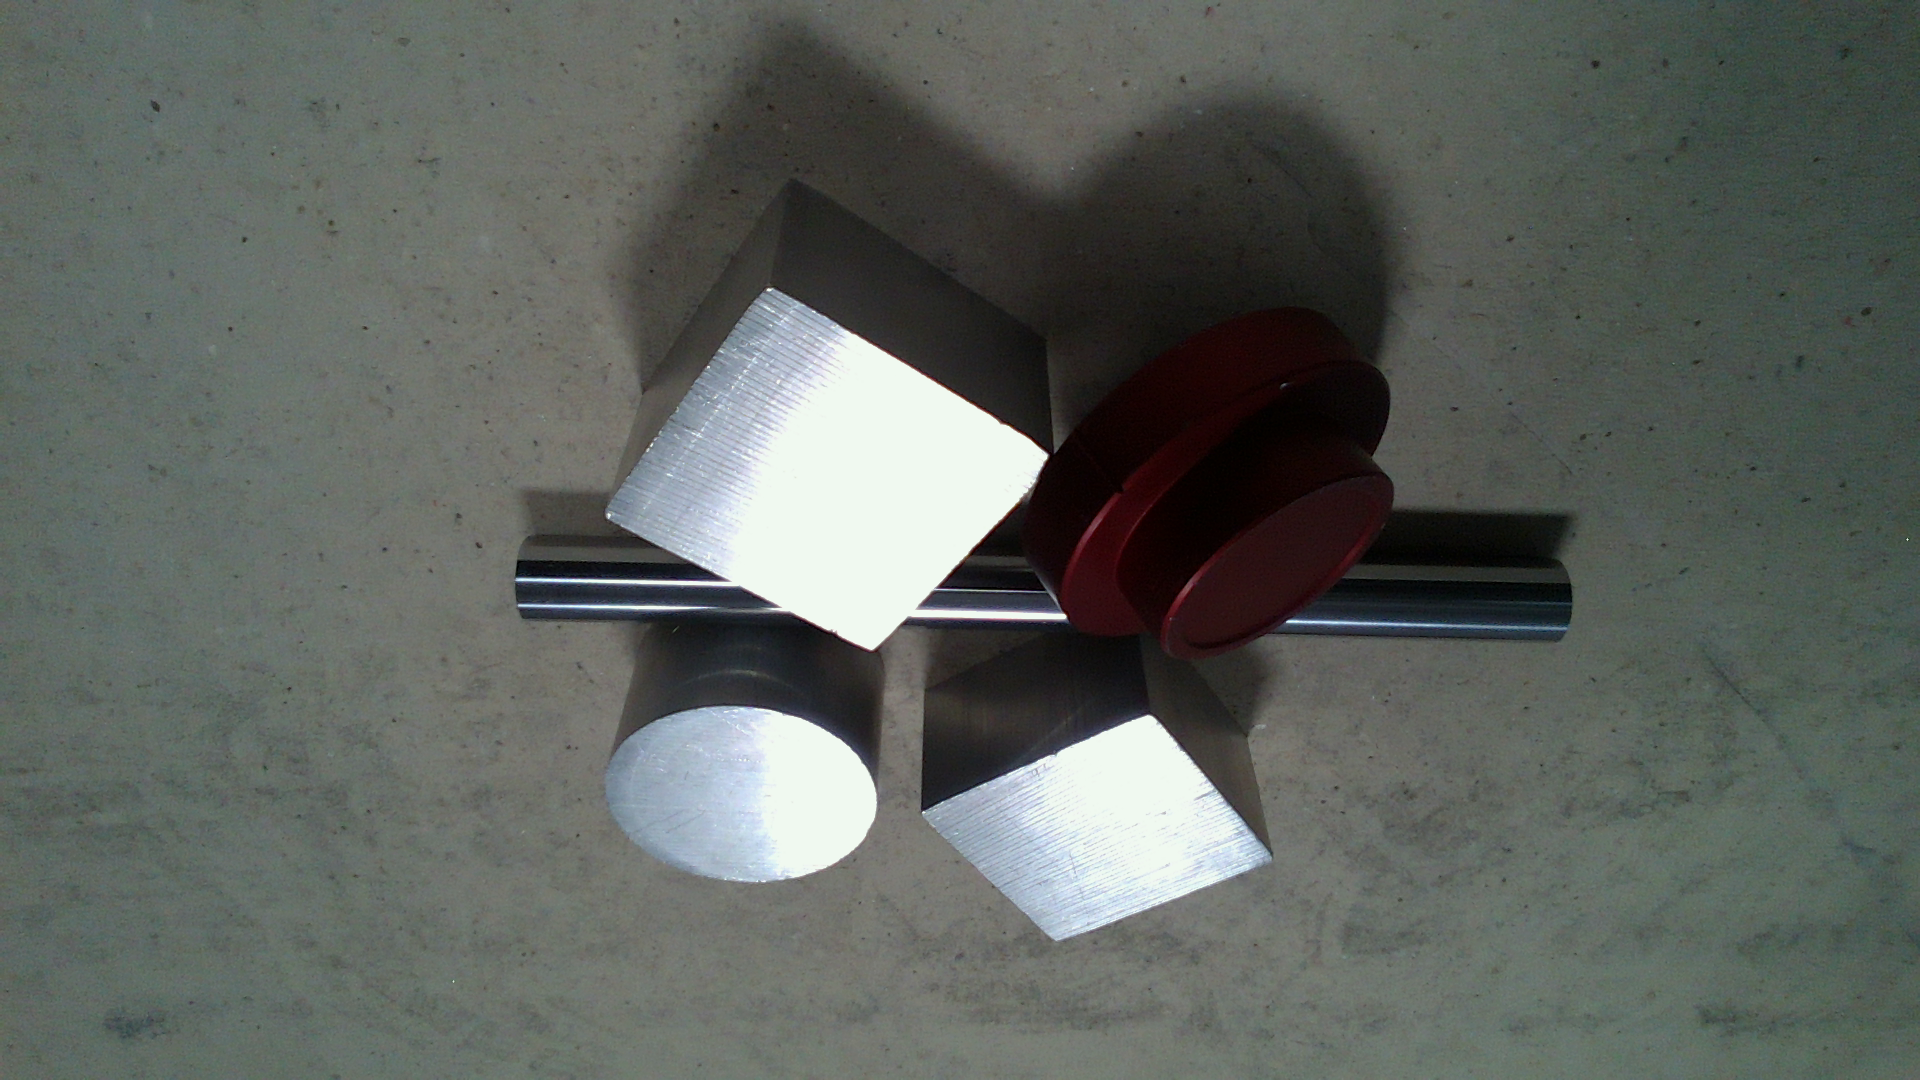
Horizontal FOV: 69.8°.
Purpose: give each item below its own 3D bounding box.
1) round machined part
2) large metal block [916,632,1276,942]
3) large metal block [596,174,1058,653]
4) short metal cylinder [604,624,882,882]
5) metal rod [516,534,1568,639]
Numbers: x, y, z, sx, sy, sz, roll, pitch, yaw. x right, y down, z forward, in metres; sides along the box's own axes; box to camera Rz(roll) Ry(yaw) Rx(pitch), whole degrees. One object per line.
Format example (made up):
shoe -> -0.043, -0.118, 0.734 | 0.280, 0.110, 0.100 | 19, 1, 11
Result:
round machined part -> 0.067, -0.007, 0.343 | 0.098, 0.042, 0.098 | -23, 149, -15
large metal block -> 0.042, 0.074, 0.437 | 0.080, 0.050, 0.080 | -27, 125, 21
large metal block -> -0.032, -0.029, 0.347 | 0.080, 0.050, 0.080 | 29, 124, -23
short metal cylinder -> -0.064, 0.061, 0.425 | 0.080, 0.050, 0.080 | 0, 130, 0
metal rod -> 0.025, 0.014, 0.404 | 0.300, 0.025, 0.025 | 1, 130, -1
